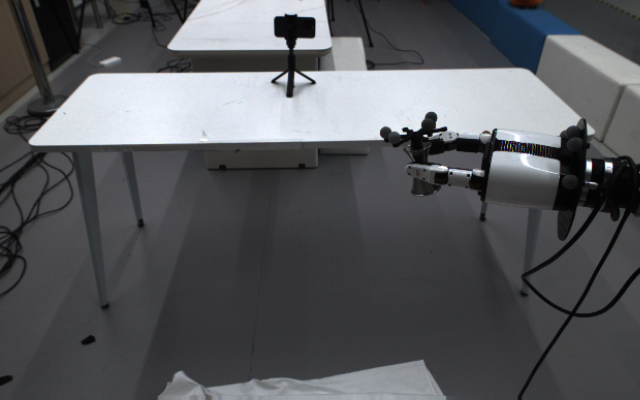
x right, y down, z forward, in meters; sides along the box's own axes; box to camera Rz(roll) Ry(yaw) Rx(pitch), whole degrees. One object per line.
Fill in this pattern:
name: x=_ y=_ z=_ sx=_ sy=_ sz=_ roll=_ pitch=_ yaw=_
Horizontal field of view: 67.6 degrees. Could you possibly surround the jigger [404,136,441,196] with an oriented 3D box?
jigger: x=0.146 y=-0.045 z=0.693 sx=0.043 sy=0.071 sz=0.043 roll=-14 pitch=21 yaw=6
